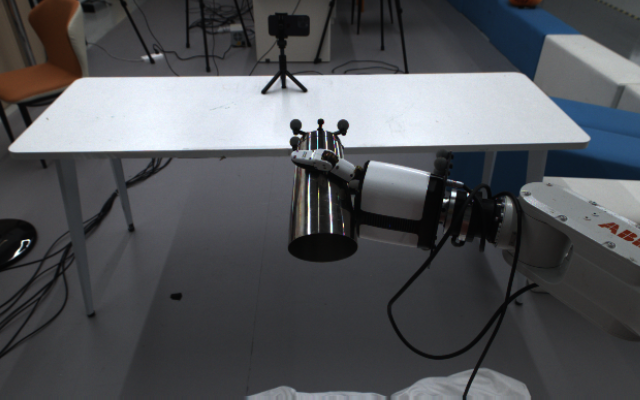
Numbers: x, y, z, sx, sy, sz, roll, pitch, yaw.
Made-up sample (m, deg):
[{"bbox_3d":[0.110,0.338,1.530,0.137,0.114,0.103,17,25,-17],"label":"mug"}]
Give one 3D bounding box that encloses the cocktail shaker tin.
[{"bbox_3d":[0.001,-0.011,0.668,0.093,0.093,0.170,0,59,-3],"label":"cocktail shaker tin"}]
